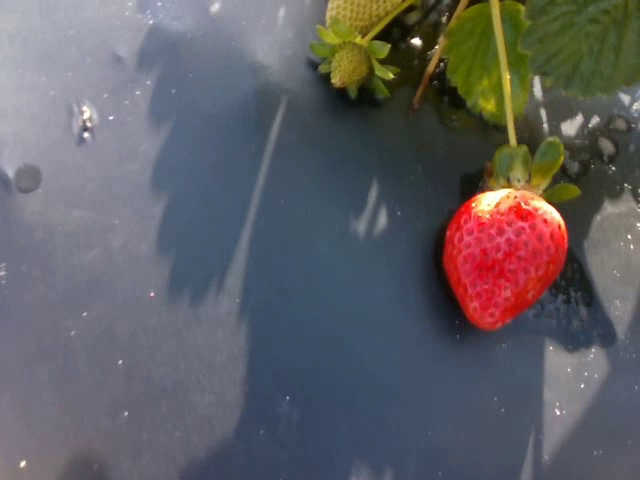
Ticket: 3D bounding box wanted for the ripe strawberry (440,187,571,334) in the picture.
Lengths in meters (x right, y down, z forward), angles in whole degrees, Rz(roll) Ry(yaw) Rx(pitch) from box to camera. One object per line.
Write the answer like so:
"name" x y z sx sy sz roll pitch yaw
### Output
"ripe strawberry" 0.046 0.008 0.152 0.030 0.045 0.033 11 -26 41
